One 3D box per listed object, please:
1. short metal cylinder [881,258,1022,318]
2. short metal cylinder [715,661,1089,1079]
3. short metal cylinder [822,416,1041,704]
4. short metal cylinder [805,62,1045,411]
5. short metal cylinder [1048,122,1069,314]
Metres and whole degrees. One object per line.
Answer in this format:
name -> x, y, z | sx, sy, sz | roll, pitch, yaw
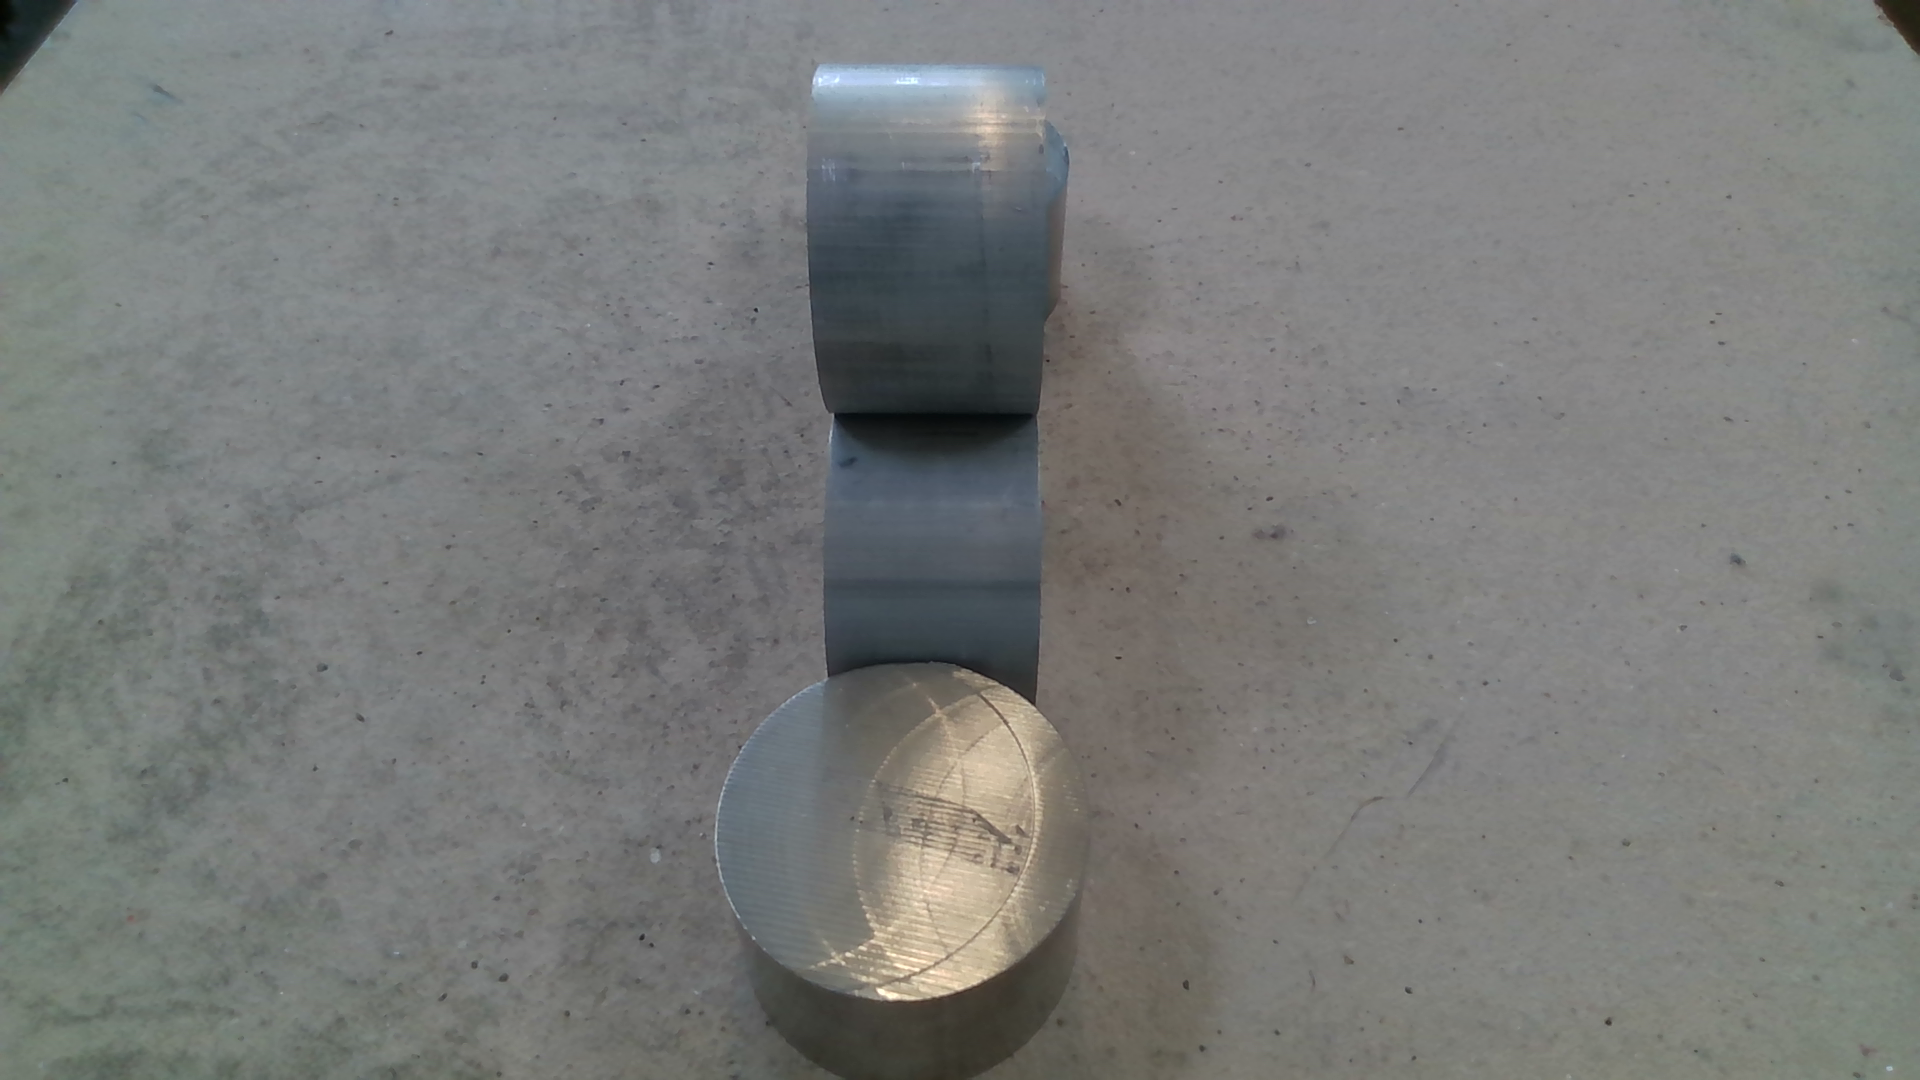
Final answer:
short metal cylinder -> -0.006, -0.057, 0.406 | 0.050, 0.080, 0.080 | 0, 50, 0
short metal cylinder -> -0.012, 0.075, 0.315 | 0.080, 0.050, 0.080 | 0, 51, 0
short metal cylinder -> -0.007, 0.004, 0.355 | 0.050, 0.080, 0.080 | 1, 50, 0
short metal cylinder -> -0.007, -0.071, 0.327 | 0.050, 0.080, 0.080 | 0, 50, 1
short metal cylinder -> -0.005, -0.109, 0.468 | 0.080, 0.050, 0.080 | 0, 51, 0
